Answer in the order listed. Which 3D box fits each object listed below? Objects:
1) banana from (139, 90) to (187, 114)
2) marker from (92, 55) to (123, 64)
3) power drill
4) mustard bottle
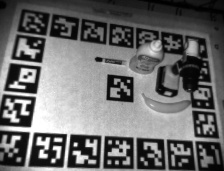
[{"bbox_3d":[0.194,0.070,0.830,0.198,0.039,0.074,13,72,-7],"label":"banana"},{"bbox_3d":[-0.018,-0.102,0.843,0.122,0.019,0.019,7,72,-10],"label":"marker"},{"bbox_3d":[0.225,-0.041,0.769,0.057,0.186,0.184,19,67,-7],"label":"power drill"},{"bbox_3d":[0.122,-0.107,0.784,0.096,0.191,0.058,16,70,-7],"label":"mustard bottle"}]
